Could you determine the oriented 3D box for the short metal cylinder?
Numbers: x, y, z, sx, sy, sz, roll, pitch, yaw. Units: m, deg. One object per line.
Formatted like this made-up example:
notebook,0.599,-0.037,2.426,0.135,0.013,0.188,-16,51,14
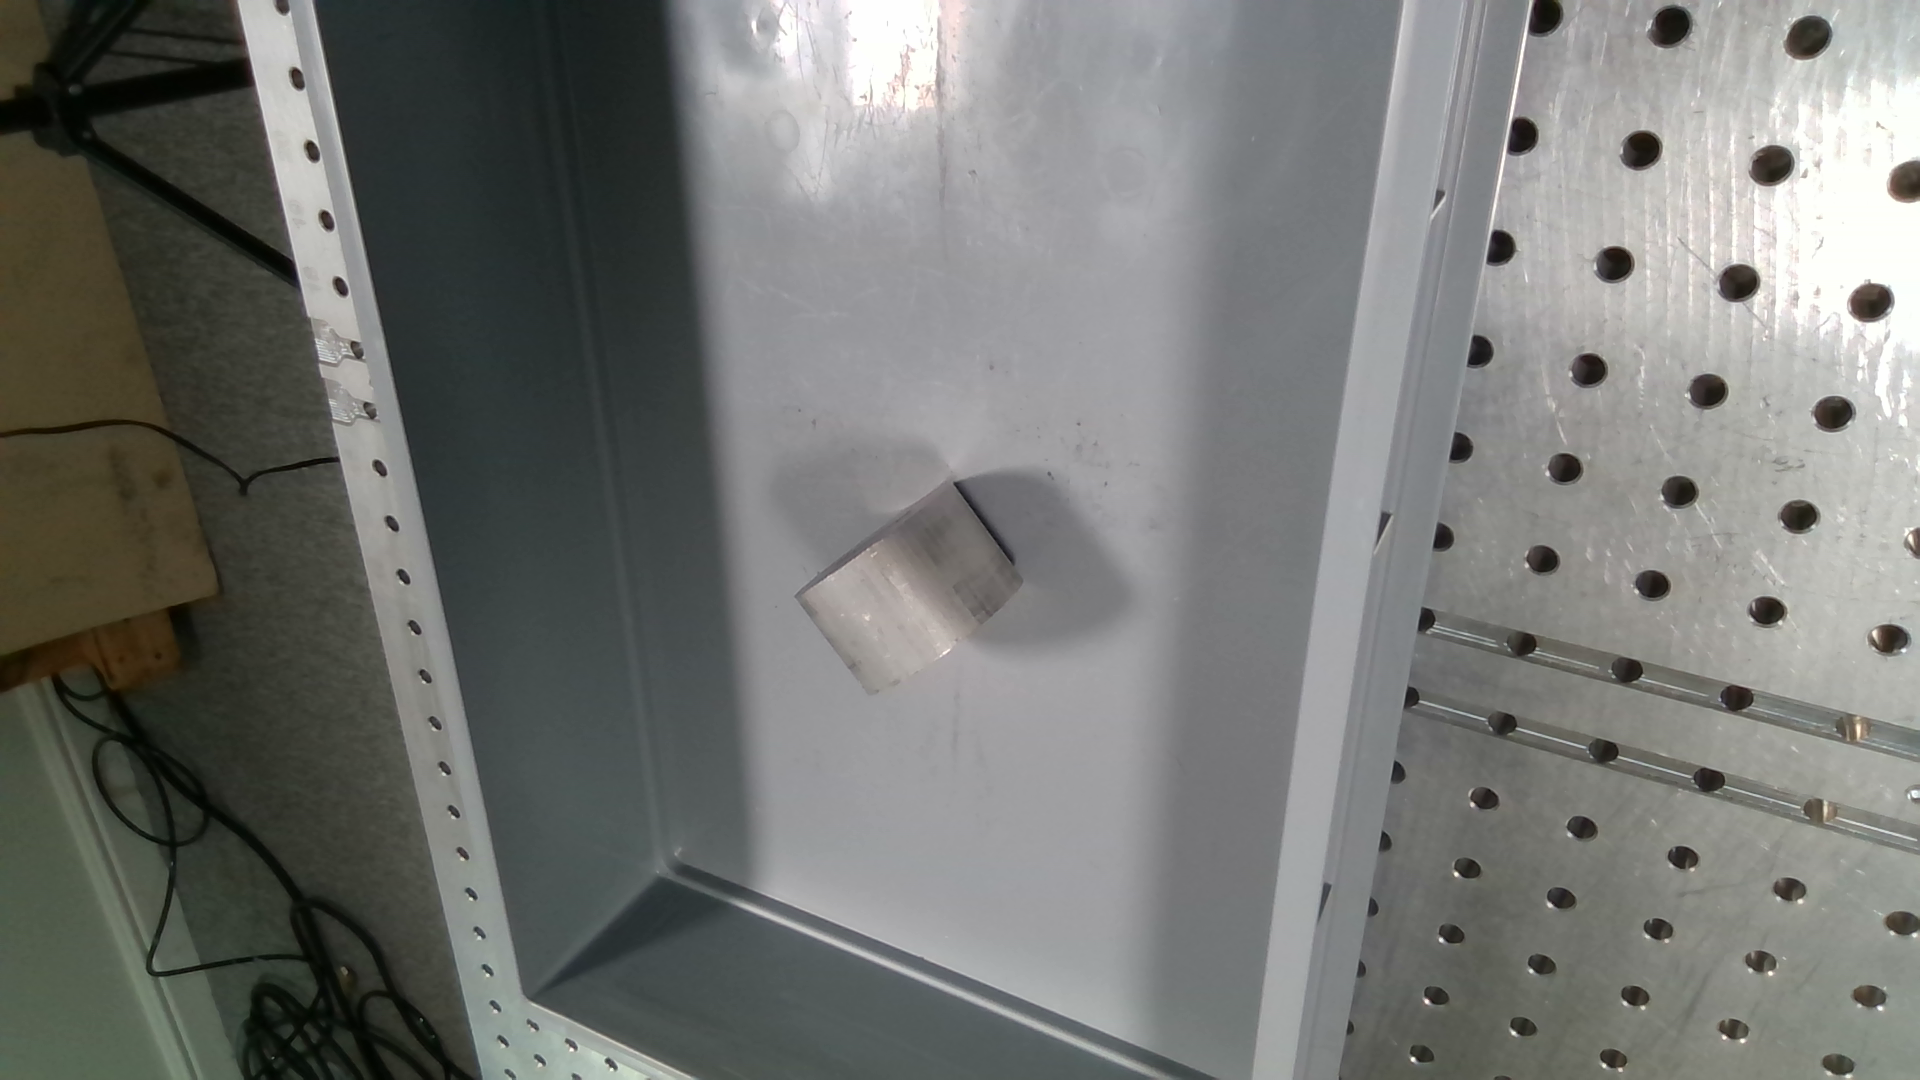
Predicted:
short metal cylinder,-0.021,0.019,0.565,0.080,0.080,0.050,-32,96,39
